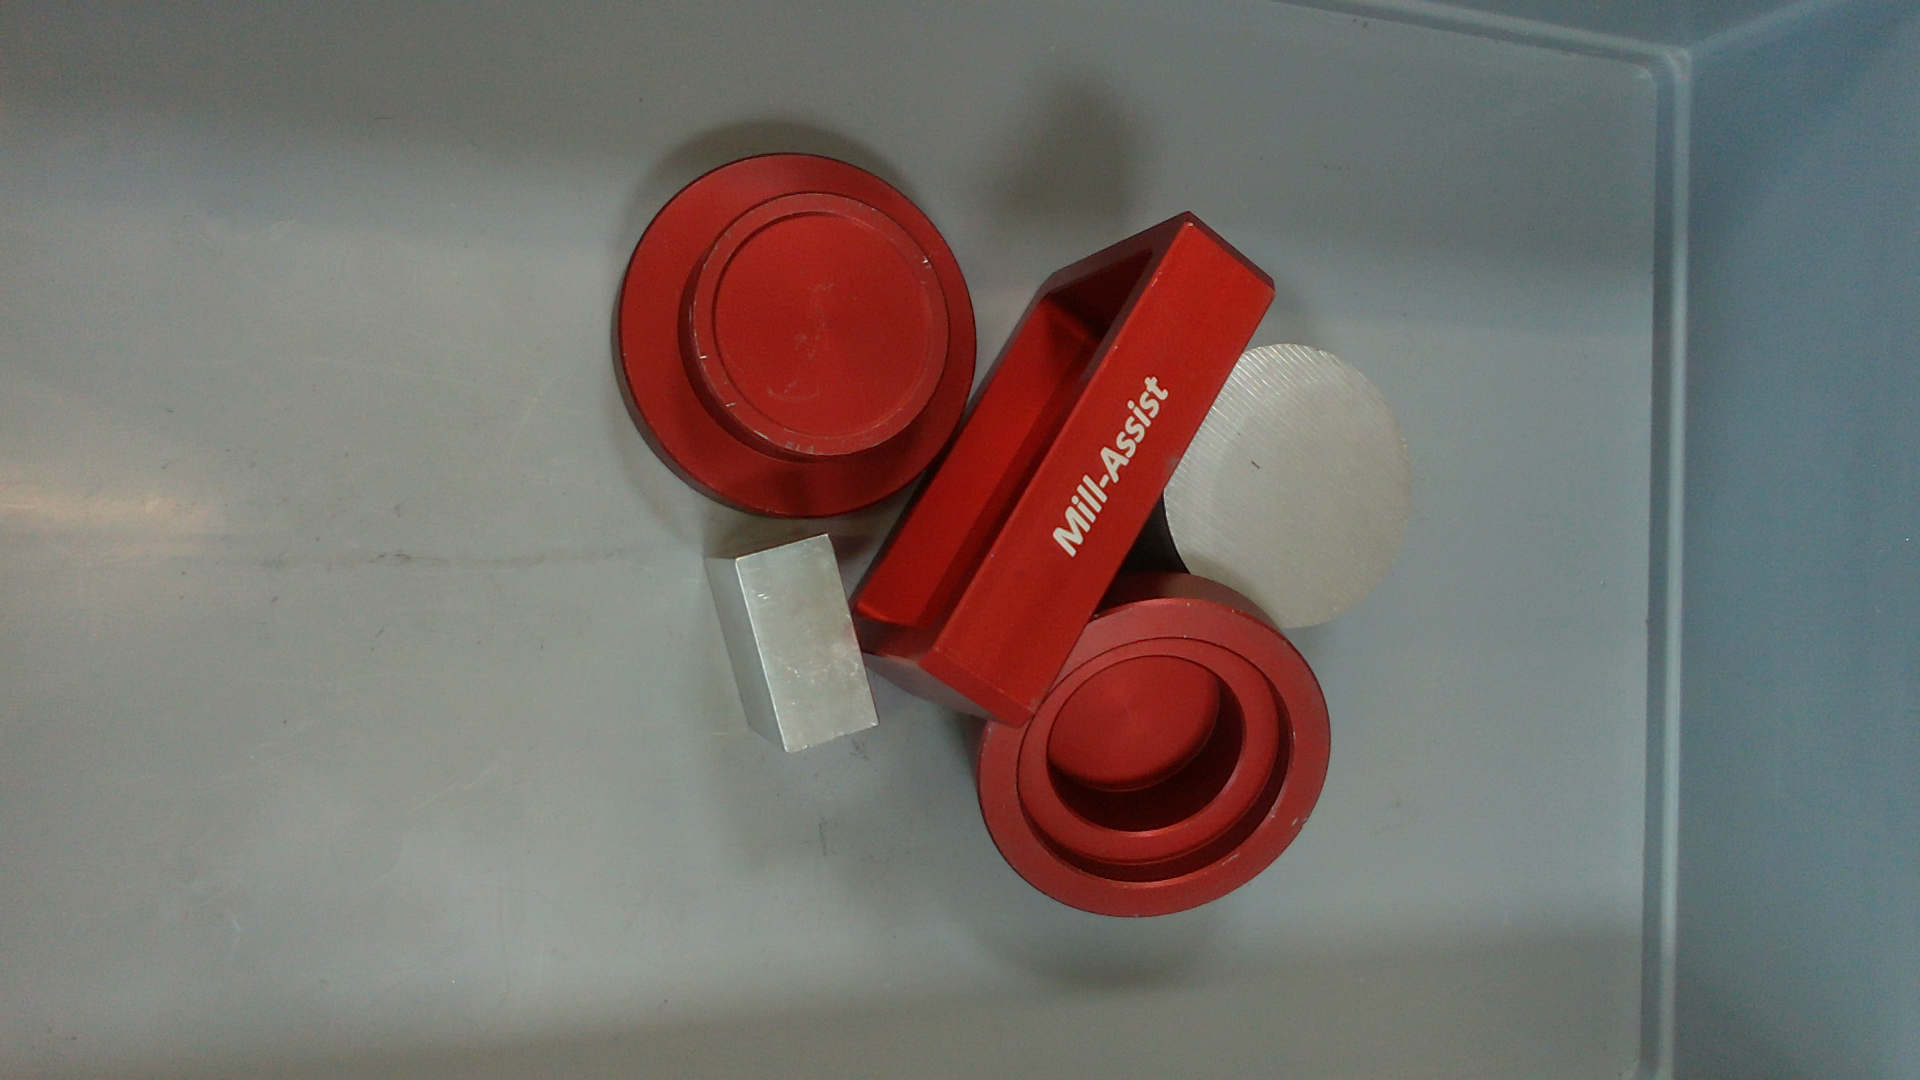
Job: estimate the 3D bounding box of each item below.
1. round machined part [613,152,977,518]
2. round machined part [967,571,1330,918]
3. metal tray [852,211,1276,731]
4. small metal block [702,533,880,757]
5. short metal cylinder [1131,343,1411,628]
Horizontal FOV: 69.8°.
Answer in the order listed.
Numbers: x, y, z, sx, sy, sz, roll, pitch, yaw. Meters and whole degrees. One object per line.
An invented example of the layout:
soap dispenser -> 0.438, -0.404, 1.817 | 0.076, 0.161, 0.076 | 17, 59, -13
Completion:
round machined part -> -0.041, -0.055, 0.367 | 0.098, 0.042, 0.098 | 0, 90, -20
round machined part -> 0.050, 0.054, 0.389 | 0.098, 0.042, 0.098 | -3, 111, -8
metal tray -> 0.021, -0.018, 0.365 | 0.030, 0.090, 0.130 | 34, 79, -17
small metal block -> -0.046, 0.026, 0.362 | 0.025, 0.050, 0.050 | -16, 96, -19
short metal cylinder -> 0.085, -0.015, 0.410 | 0.080, 0.050, 0.080 | 0, 90, -20
